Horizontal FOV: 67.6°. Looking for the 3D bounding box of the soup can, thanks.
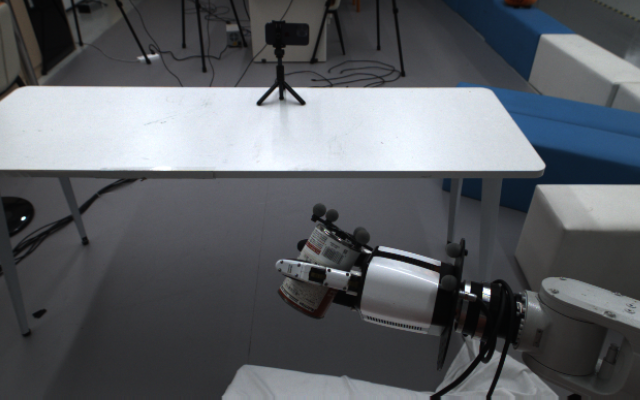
[{"bbox_3d":[0.002,0.090,0.613,0.067,0.101,0.067,30,2,-1],"label":"soup can"}]
